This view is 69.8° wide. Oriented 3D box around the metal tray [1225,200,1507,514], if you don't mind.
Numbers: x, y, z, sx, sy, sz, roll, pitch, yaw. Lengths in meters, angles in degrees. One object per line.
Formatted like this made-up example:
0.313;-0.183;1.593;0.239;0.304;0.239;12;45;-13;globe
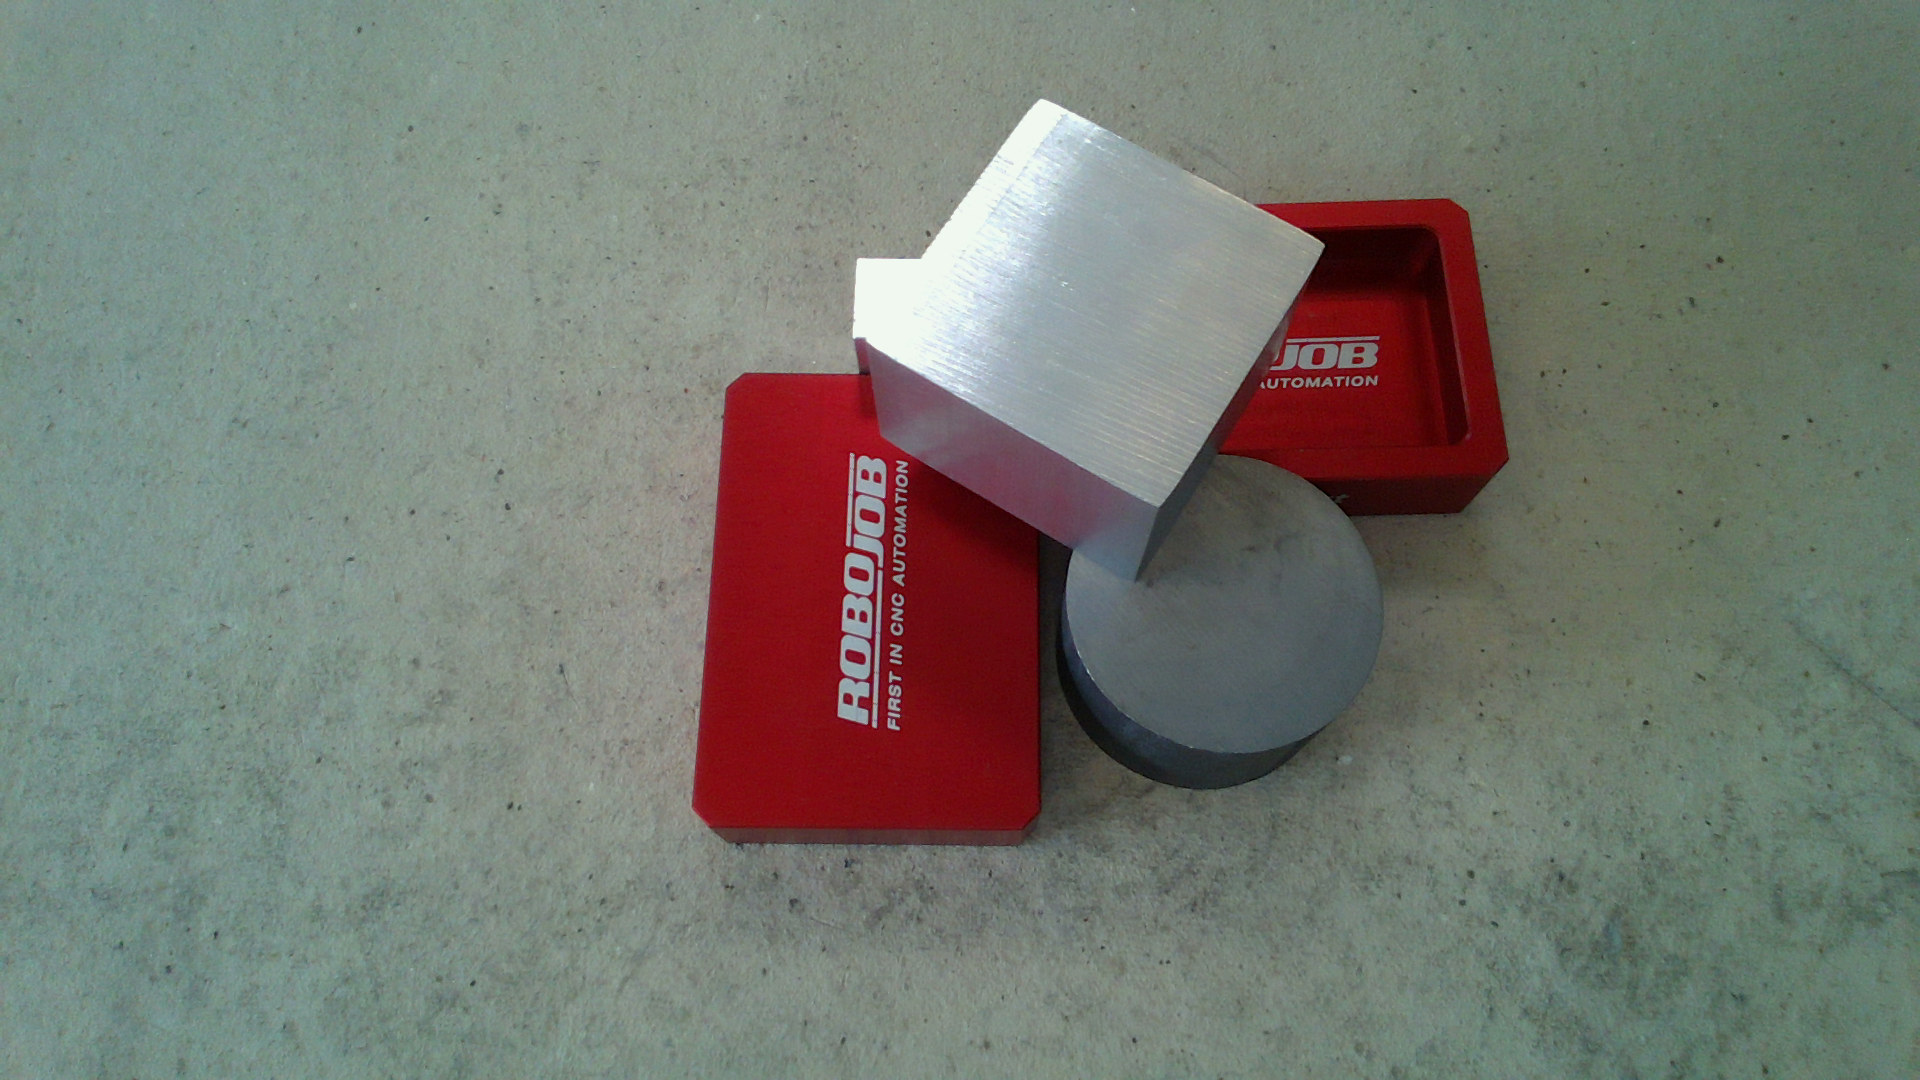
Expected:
0.087;-0.054;0.412;0.130;0.030;0.090;-2;70;-1;metal tray

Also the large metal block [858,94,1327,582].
0.032;-0.050;0.345;0.080;0.050;0.080;31;73;11;large metal block

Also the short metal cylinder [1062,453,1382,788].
0.067;0.023;0.373;0.080;0.050;0.080;0;70;1;short metal cylinder

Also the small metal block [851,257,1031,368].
-0.005;-0.058;0.403;0.050;0.050;0.025;1;70;0;small metal block

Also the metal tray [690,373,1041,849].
-0.023;0.018;0.386;0.090;0.030;0.130;1;70;0;metal tray
